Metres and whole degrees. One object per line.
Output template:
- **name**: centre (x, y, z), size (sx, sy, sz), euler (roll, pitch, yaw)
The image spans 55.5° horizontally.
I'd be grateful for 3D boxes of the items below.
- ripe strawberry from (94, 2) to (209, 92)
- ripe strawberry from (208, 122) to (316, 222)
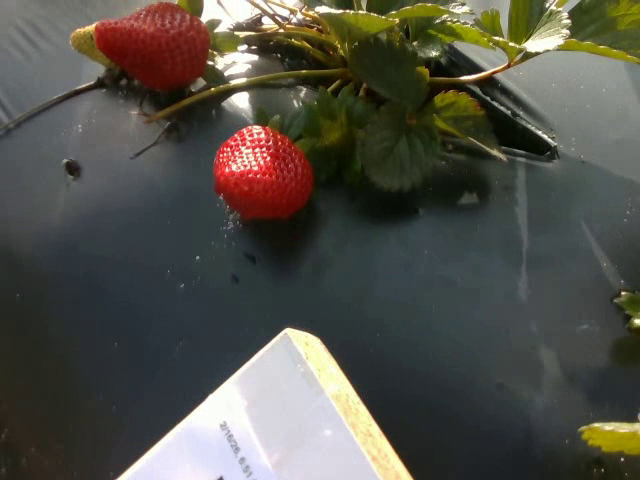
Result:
- **ripe strawberry**: centre (-0.056, -0.070, 0.204), size (0.036, 0.041, 0.035), euler (-5, 34, -43)
- **ripe strawberry**: centre (-0.018, -0.021, 0.171), size (0.037, 0.034, 0.039), euler (-36, -10, 28)
